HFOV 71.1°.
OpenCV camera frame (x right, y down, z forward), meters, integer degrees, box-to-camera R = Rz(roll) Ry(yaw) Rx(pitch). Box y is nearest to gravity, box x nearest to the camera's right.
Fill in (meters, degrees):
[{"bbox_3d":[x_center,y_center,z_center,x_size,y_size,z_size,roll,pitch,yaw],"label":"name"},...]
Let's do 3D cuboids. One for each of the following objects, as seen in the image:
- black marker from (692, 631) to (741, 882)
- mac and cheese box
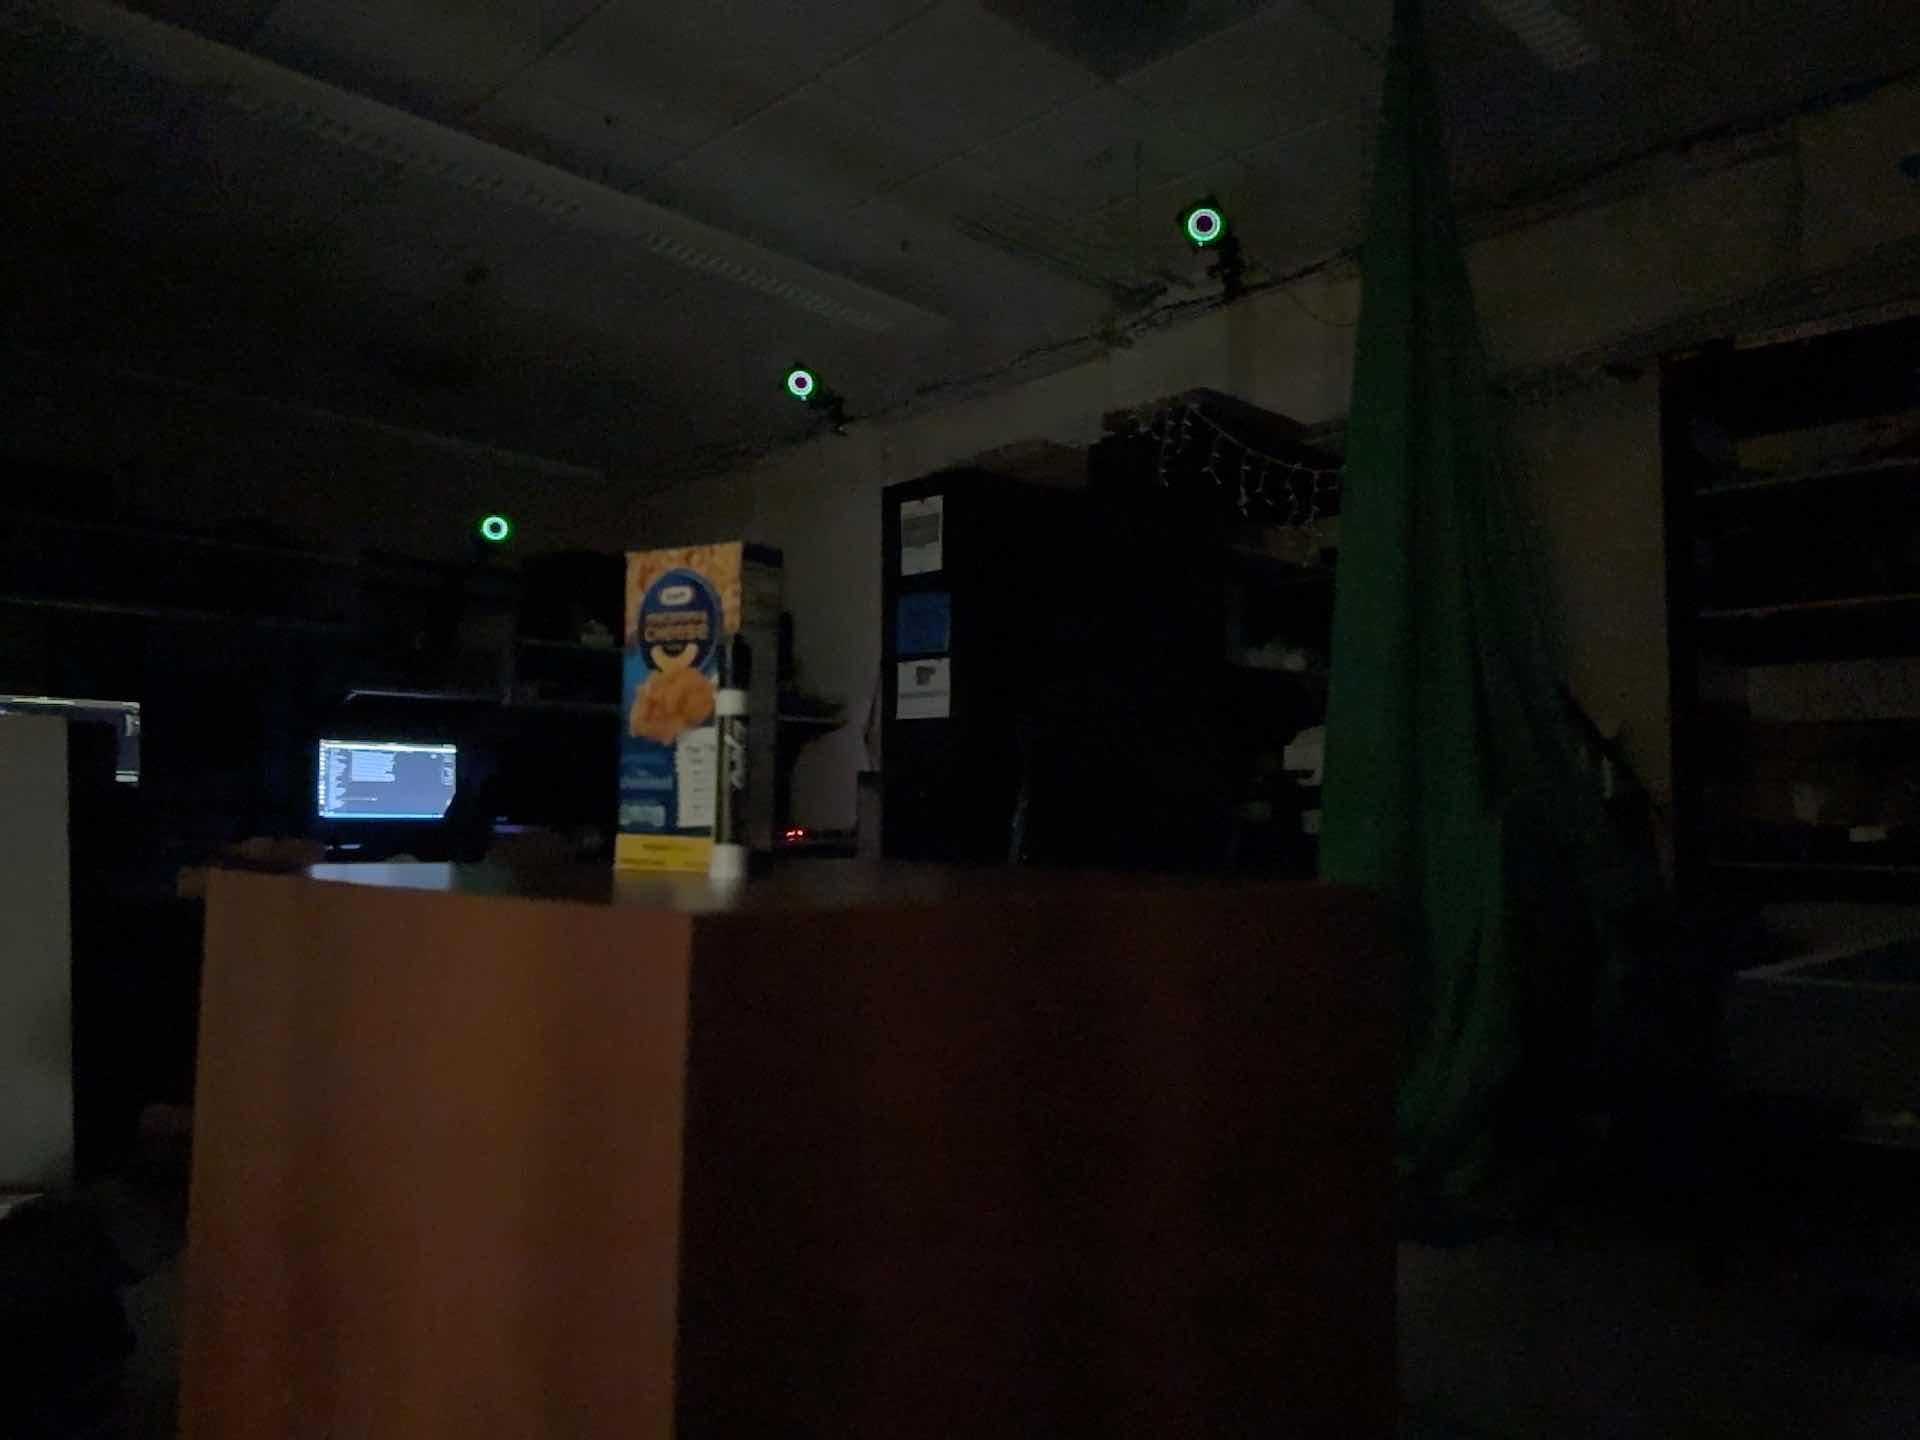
[{"bbox_3d":[-0.118,0.017,0.652,0.020,0.121,0.020,2,-4,0],"label":"black marker"},{"bbox_3d":[-0.145,-0.012,0.752,0.088,0.181,0.035,-1,-3,39],"label":"mac and cheese box"}]
